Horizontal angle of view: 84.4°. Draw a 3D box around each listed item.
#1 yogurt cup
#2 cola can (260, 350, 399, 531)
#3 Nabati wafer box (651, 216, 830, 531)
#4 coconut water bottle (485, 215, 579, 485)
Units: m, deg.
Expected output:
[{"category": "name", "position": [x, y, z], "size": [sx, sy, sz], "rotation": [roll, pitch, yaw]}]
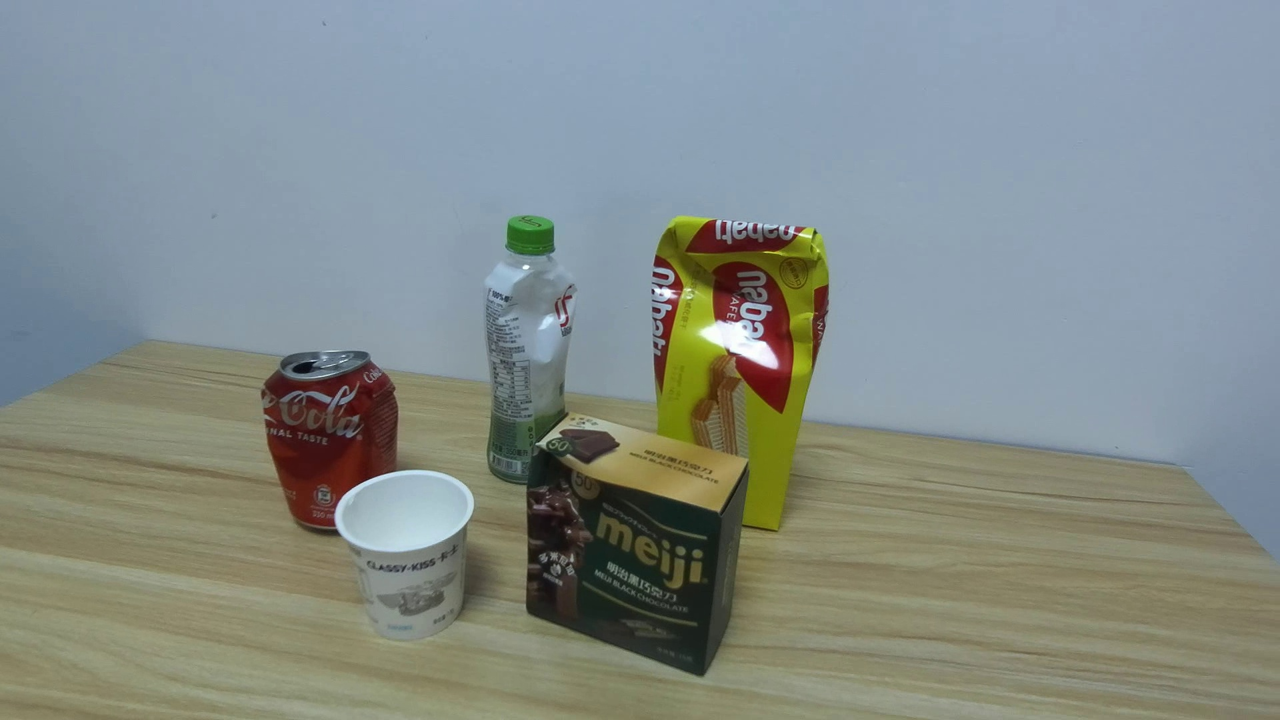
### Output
[{"category": "yogurt cup", "position": [-0.125, 0.109, 0.387], "size": [0.072, 0.068, 0.072], "rotation": [3, 24, -1]}, {"category": "cola can", "position": [-0.193, 0.050, 0.452], "size": [0.069, 0.112, 0.066], "rotation": [15, 26, 25]}, {"category": "Nabati wafer box", "position": [0.059, 0.012, 0.462], "size": [0.113, 0.205, 0.042], "rotation": [6, 23, 10]}, {"category": "coconut water bottle", "position": [-0.078, -0.007, 0.502], "size": [0.069, 0.187, 0.069], "rotation": [4, 22, -1]}]
